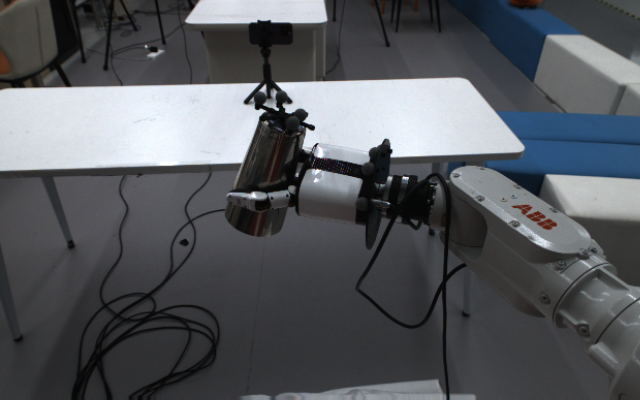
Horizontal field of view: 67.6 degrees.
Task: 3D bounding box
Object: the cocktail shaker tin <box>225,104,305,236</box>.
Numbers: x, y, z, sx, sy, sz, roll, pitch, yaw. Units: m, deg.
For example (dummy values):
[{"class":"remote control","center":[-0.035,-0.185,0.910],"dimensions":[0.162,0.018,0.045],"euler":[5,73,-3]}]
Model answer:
[{"class":"cocktail shaker tin","center":[-0.076,-0.042,0.707],"dimensions":[0.093,0.170,0.093],"euler":[16,31,-10]}]
